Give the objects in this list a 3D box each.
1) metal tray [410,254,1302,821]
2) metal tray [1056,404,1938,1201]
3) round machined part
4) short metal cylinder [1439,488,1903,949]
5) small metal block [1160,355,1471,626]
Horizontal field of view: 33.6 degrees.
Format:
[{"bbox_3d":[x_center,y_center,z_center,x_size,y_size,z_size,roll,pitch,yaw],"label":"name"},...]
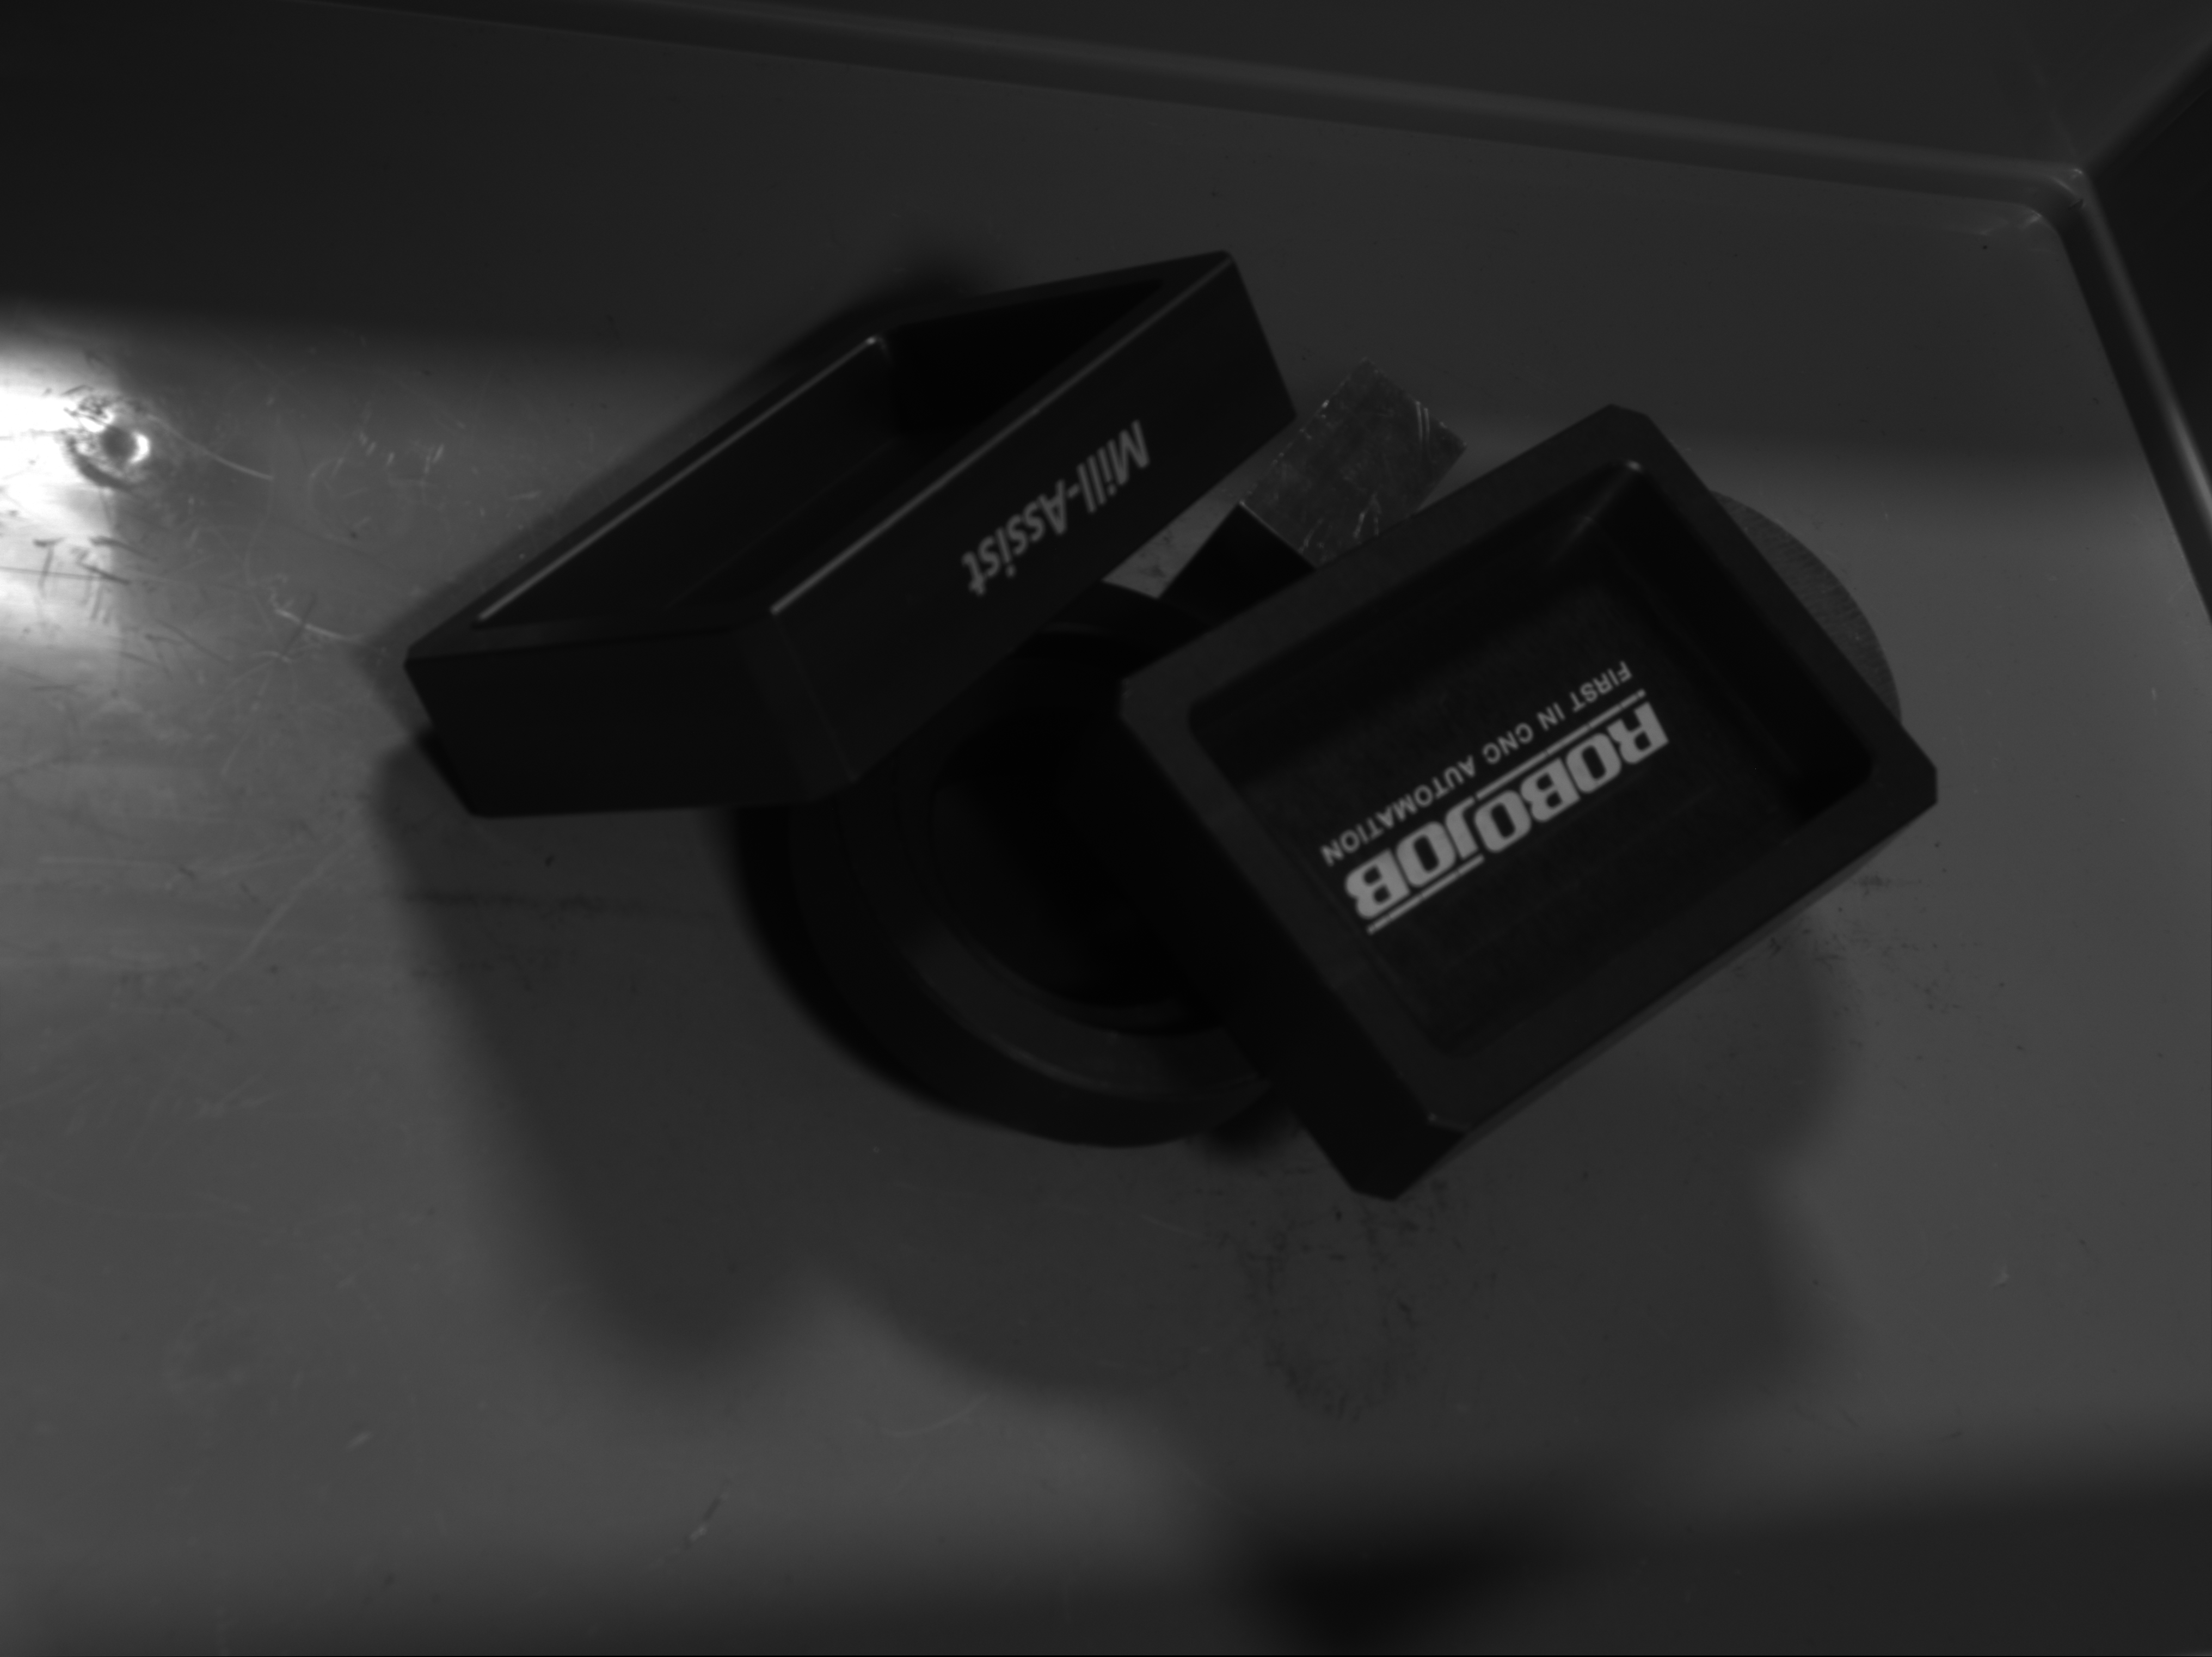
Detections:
[{"bbox_3d":[-0.039,-0.049,0.603,0.130,0.090,0.030,-42,118,-39],"label":"metal tray"},{"bbox_3d":[0.068,-0.008,0.615,0.130,0.030,0.090,-31,78,-33],"label":"metal tray"},{"bbox_3d":[-0.008,0.010,0.618,0.098,0.042,0.098,14,56,-21],"label":"round machined part"},{"bbox_3d":[0.102,-0.018,0.688,0.080,0.050,0.080,14,56,-21],"label":"short metal cylinder"},{"bbox_3d":[0.034,-0.051,0.671,0.025,0.050,0.050,40,49,-1],"label":"small metal block"}]
